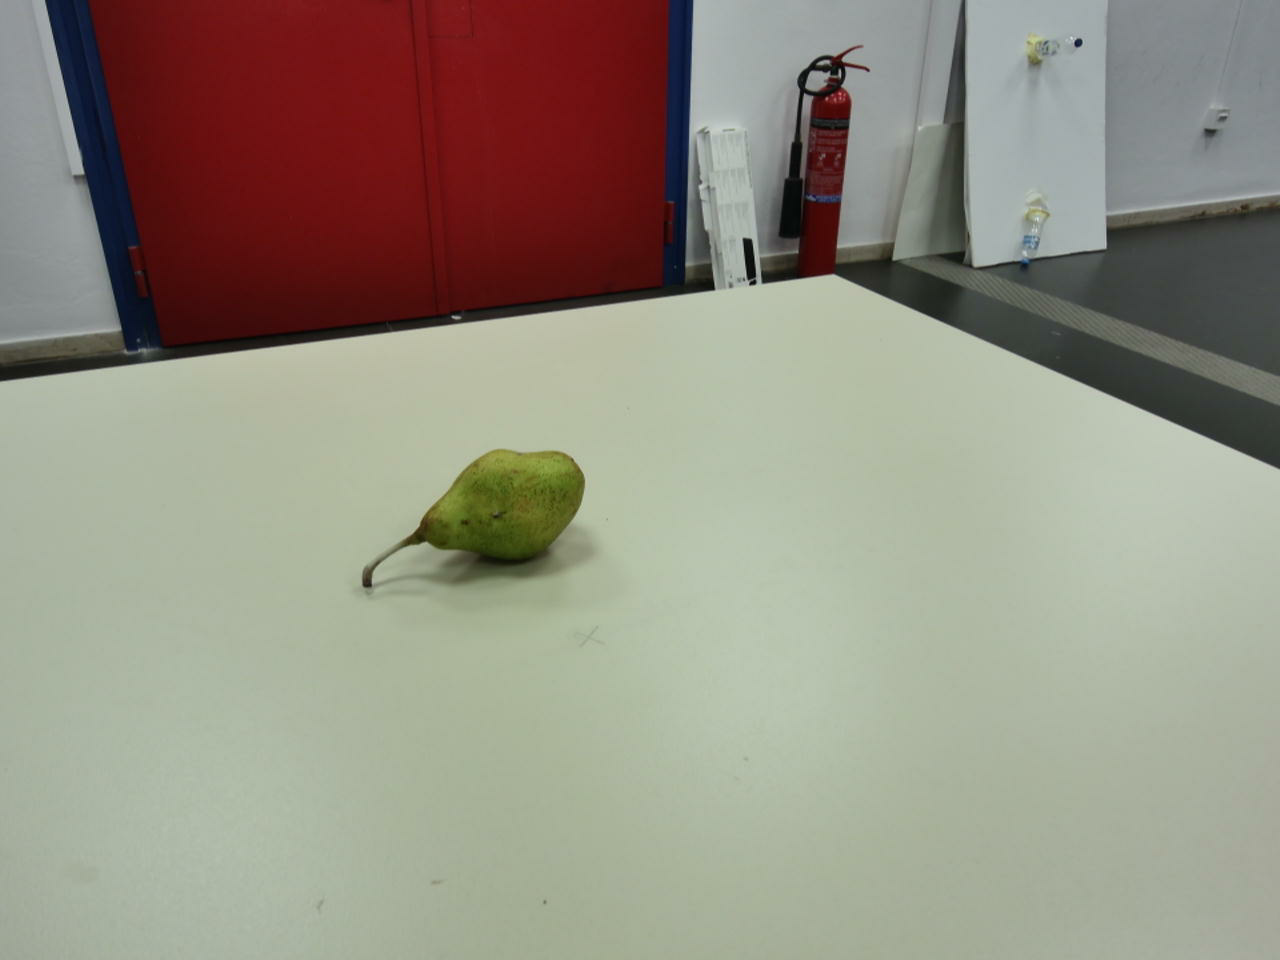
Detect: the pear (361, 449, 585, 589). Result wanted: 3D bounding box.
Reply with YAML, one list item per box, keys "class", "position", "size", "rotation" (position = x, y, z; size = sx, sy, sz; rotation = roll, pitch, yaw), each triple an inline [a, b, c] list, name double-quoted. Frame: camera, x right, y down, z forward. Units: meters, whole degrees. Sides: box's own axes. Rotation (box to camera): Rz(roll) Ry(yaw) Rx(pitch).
- class: "pear"
  position: [-0.083, 0.014, 0.496]
  size: [0.111, 0.056, 0.056]
  rotation: [-5, 26, -9]
